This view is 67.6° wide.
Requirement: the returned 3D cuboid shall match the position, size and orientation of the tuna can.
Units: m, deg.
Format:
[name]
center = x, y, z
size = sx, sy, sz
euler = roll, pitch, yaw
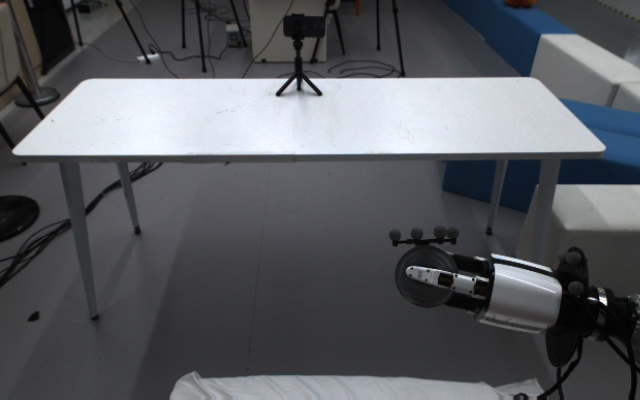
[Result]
[tuna can]
center = 0.151, 0.103, 0.675
size = 0.085, 0.085, 0.034
euler = 11, -7, 12
